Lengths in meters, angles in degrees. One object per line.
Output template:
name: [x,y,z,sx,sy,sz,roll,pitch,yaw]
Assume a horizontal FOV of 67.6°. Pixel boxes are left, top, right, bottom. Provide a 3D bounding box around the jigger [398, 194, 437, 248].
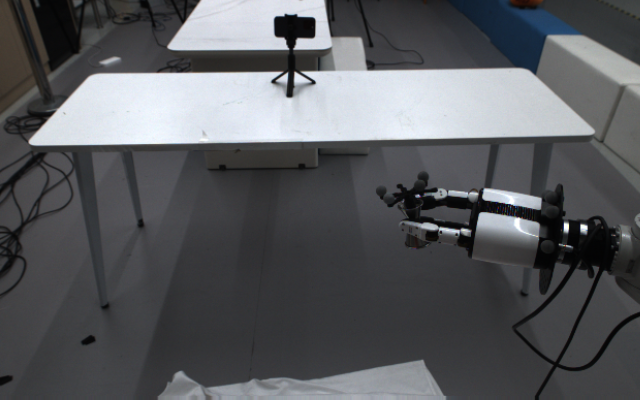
jigger: [0.147,0.035,0.751,0.043,0.071,0.043,-14,21,6]
